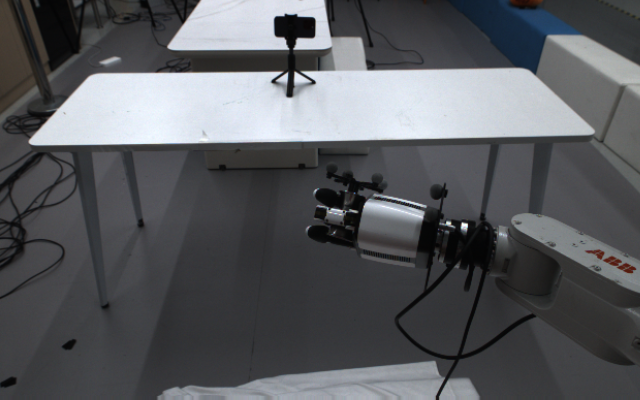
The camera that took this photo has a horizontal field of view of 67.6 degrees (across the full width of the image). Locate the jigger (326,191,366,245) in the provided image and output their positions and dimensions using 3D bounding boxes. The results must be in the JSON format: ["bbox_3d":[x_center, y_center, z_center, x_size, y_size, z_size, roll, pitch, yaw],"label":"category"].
[{"bbox_3d":[0.041,0.023,0.710,0.043,0.071,0.043,16,-7,2],"label":"jigger"}]
